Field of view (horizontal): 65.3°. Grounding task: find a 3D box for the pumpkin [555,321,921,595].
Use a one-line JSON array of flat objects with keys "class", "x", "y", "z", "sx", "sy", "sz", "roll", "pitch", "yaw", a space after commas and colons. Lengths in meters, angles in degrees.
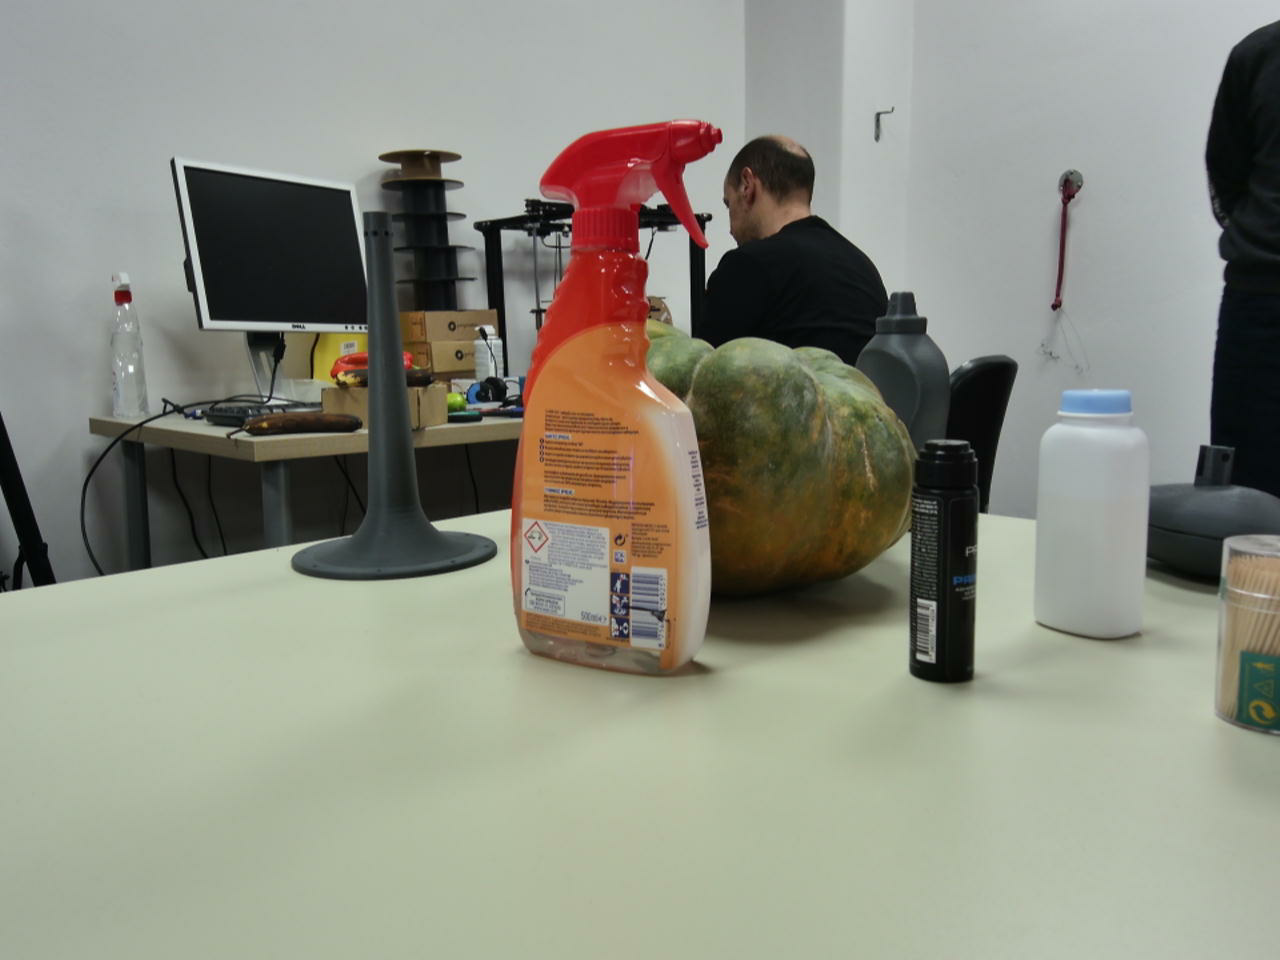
[{"class": "pumpkin", "x": 0.062, "y": -0.018, "z": 0.662, "sx": 0.237, "sy": 0.173, "sz": 0.270, "roll": 0, "pitch": 6, "yaw": -6}]
